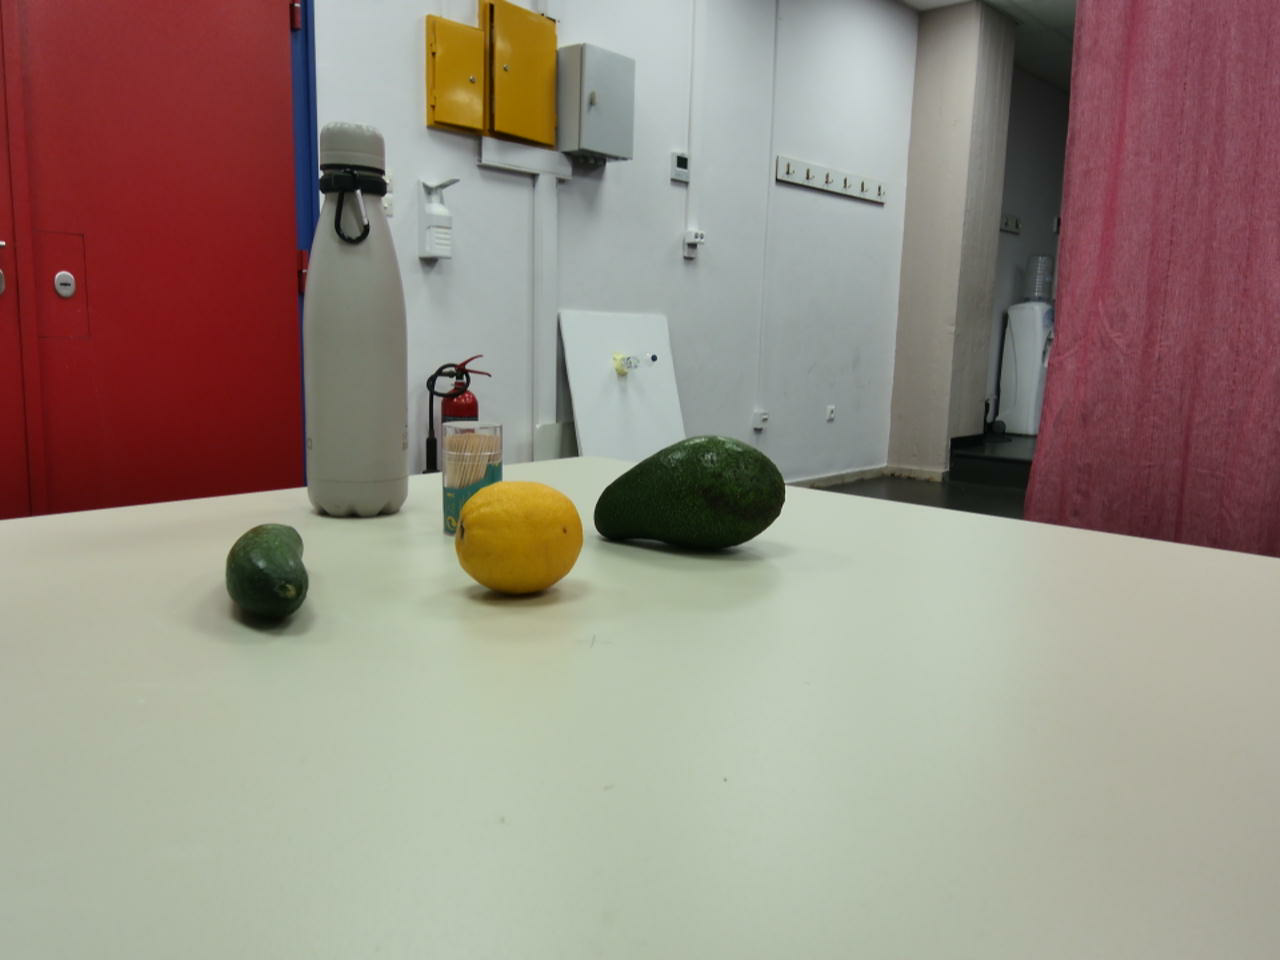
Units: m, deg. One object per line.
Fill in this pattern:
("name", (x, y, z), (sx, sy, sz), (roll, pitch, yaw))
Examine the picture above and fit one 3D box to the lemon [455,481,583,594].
("lemon", (-0.064, 0.031, 0.529), (0.067, 0.059, 0.061), (0, 7, -6))
